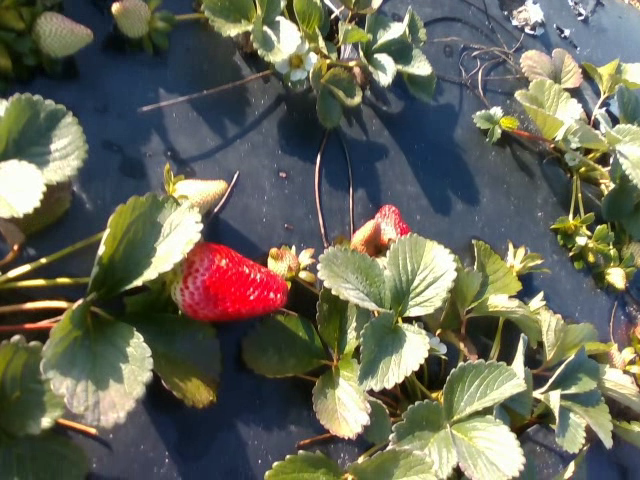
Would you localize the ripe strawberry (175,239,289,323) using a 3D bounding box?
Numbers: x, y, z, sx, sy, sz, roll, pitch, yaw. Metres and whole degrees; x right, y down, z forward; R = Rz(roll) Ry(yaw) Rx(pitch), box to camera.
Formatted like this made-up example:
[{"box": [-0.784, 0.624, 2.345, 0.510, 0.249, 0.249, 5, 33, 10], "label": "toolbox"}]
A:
[{"box": [-0.050, 0.027, 0.346, 0.072, 0.057, 0.055, 4, 26, -7], "label": "ripe strawberry"}]
